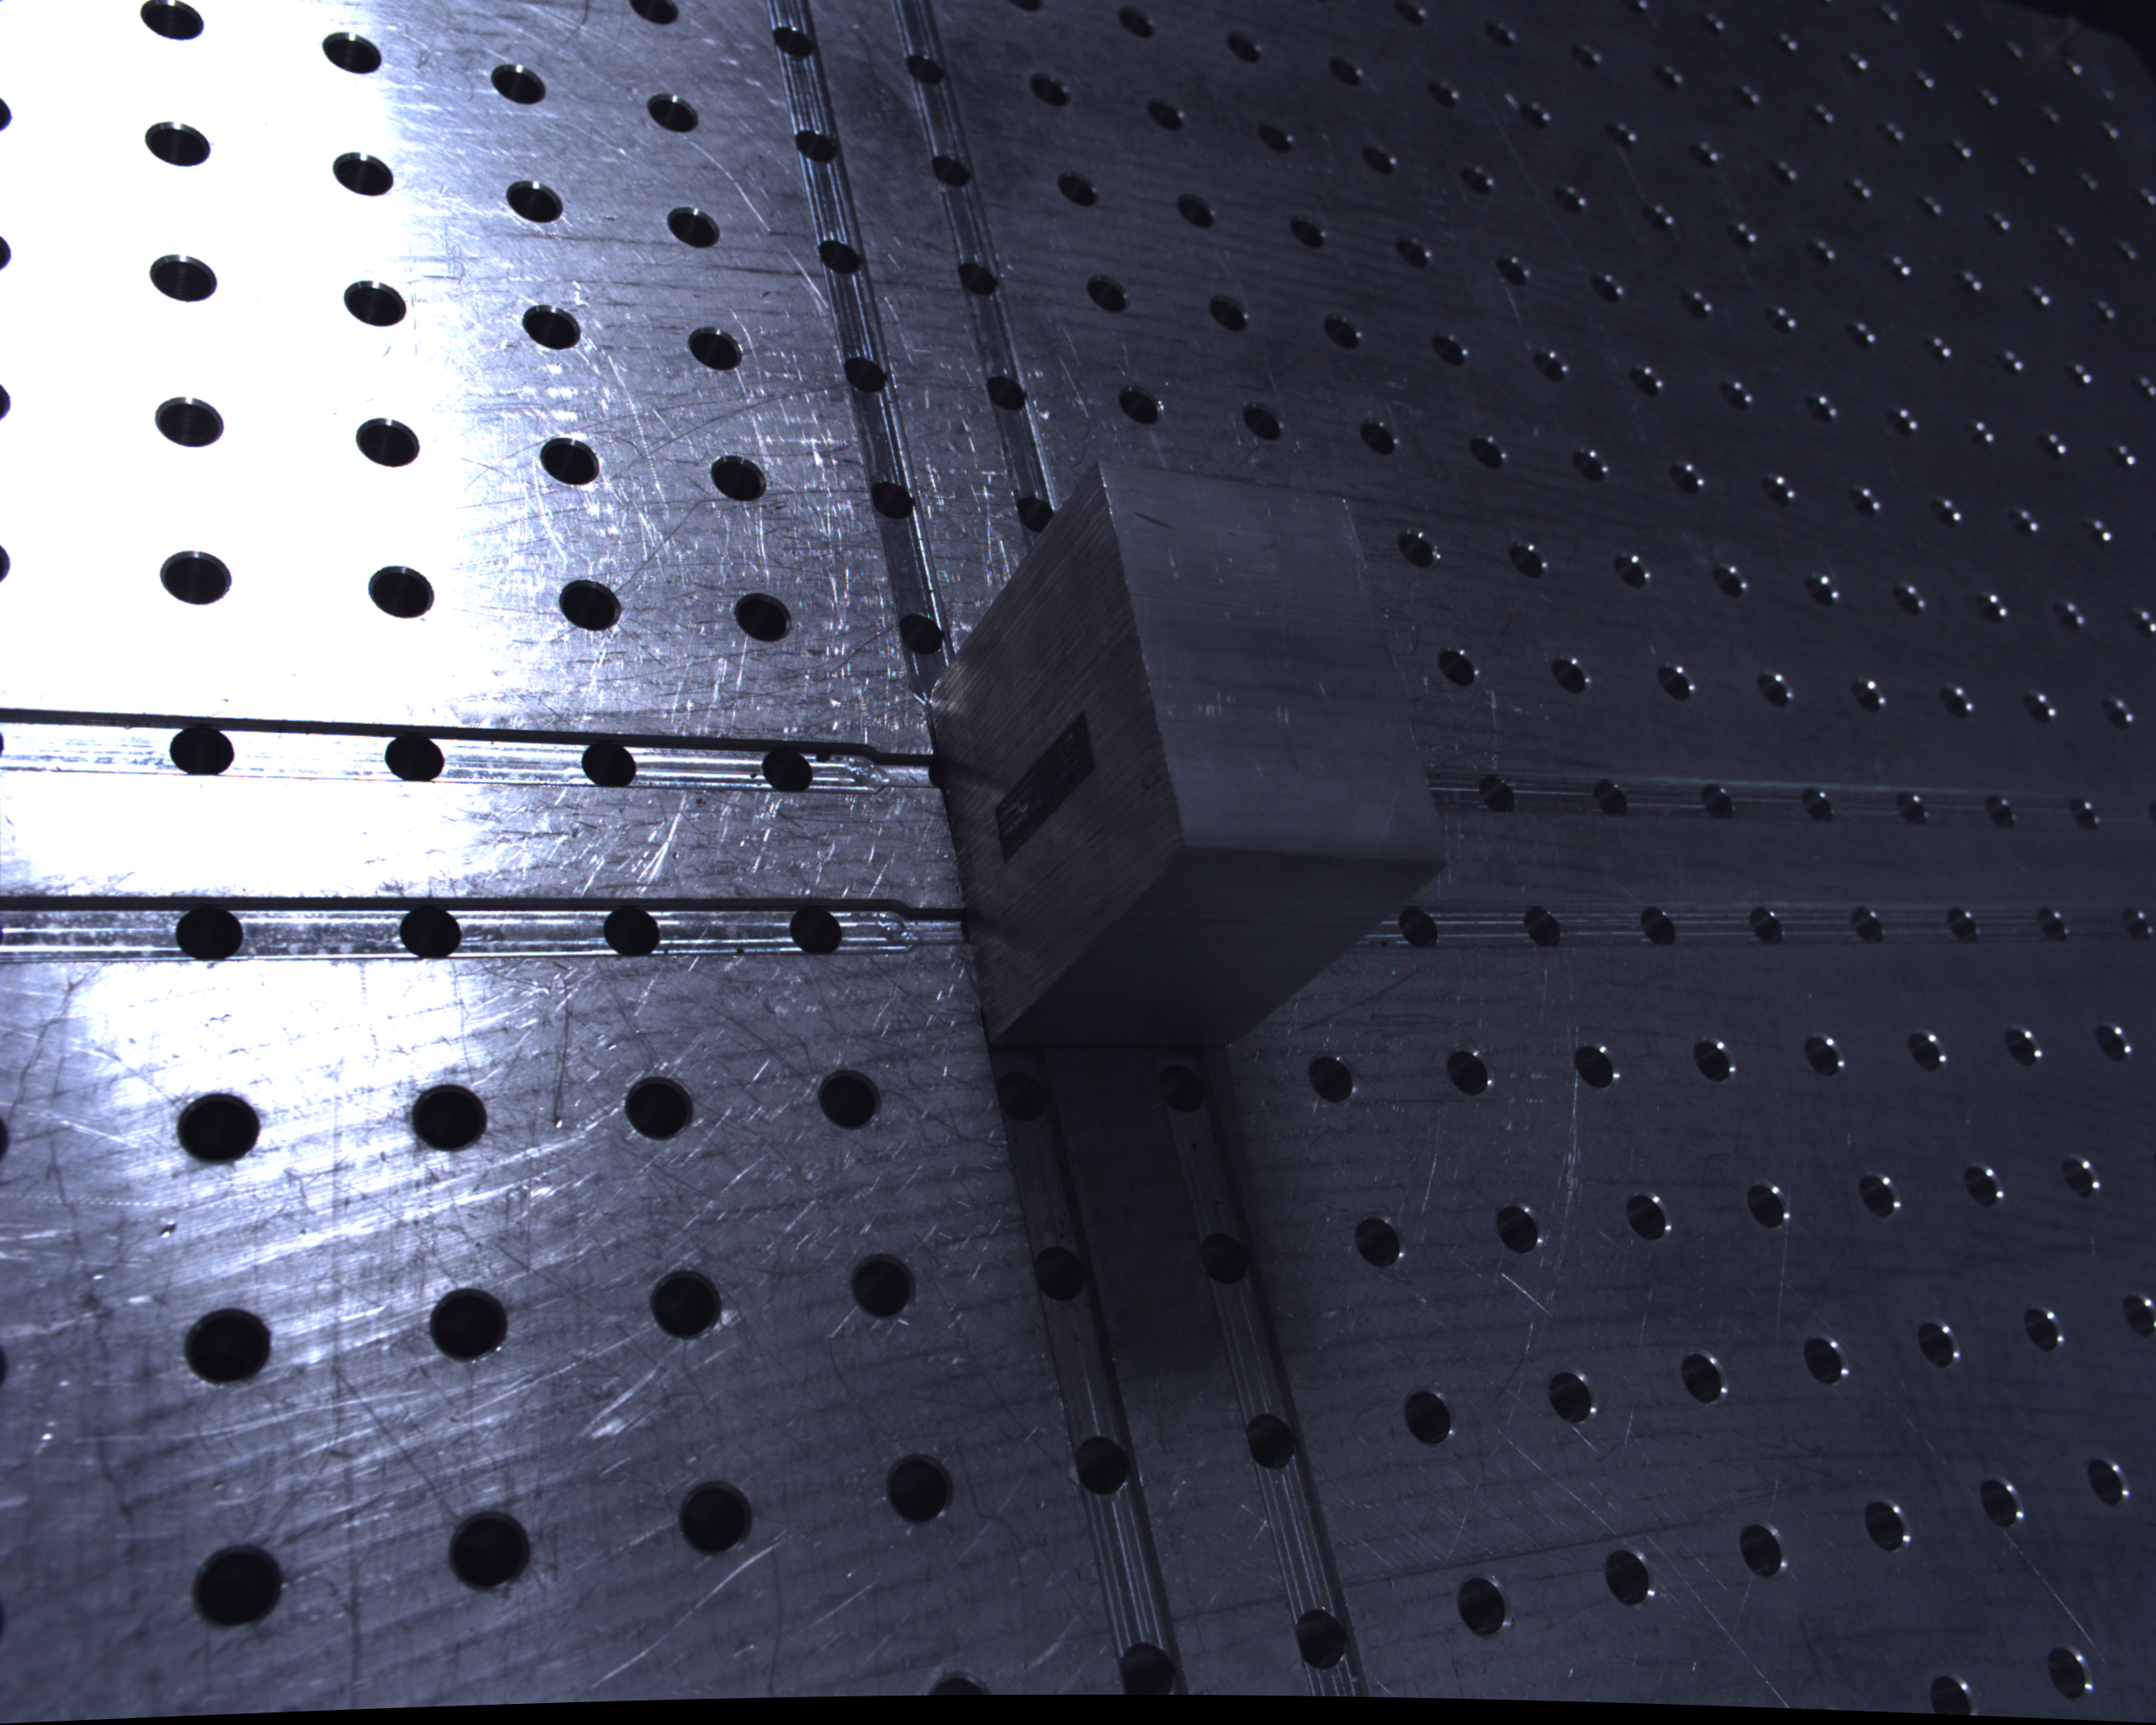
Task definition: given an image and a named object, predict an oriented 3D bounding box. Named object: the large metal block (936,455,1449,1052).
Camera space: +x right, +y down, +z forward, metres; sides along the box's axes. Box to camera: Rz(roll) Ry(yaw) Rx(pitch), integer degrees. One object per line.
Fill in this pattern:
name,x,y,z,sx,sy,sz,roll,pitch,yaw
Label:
large metal block,0.017,-0.017,0.393,0.050,0.080,0.080,3,60,-27
